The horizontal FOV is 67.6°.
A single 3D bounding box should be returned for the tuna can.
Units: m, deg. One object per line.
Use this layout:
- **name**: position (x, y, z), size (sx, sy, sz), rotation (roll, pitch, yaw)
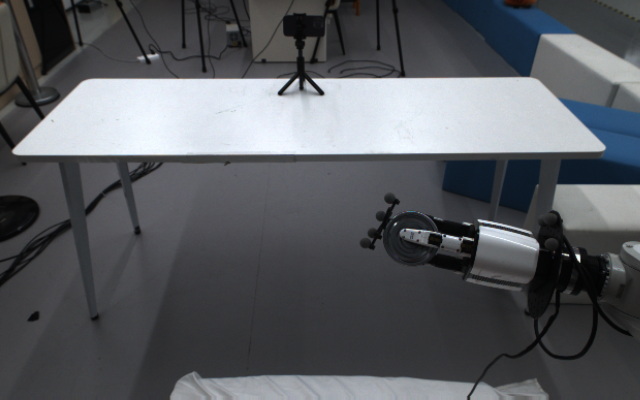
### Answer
- **tuna can**: position (0.143, 0.058, 0.743), size (0.085, 0.085, 0.034), rotation (9, -5, 10)
